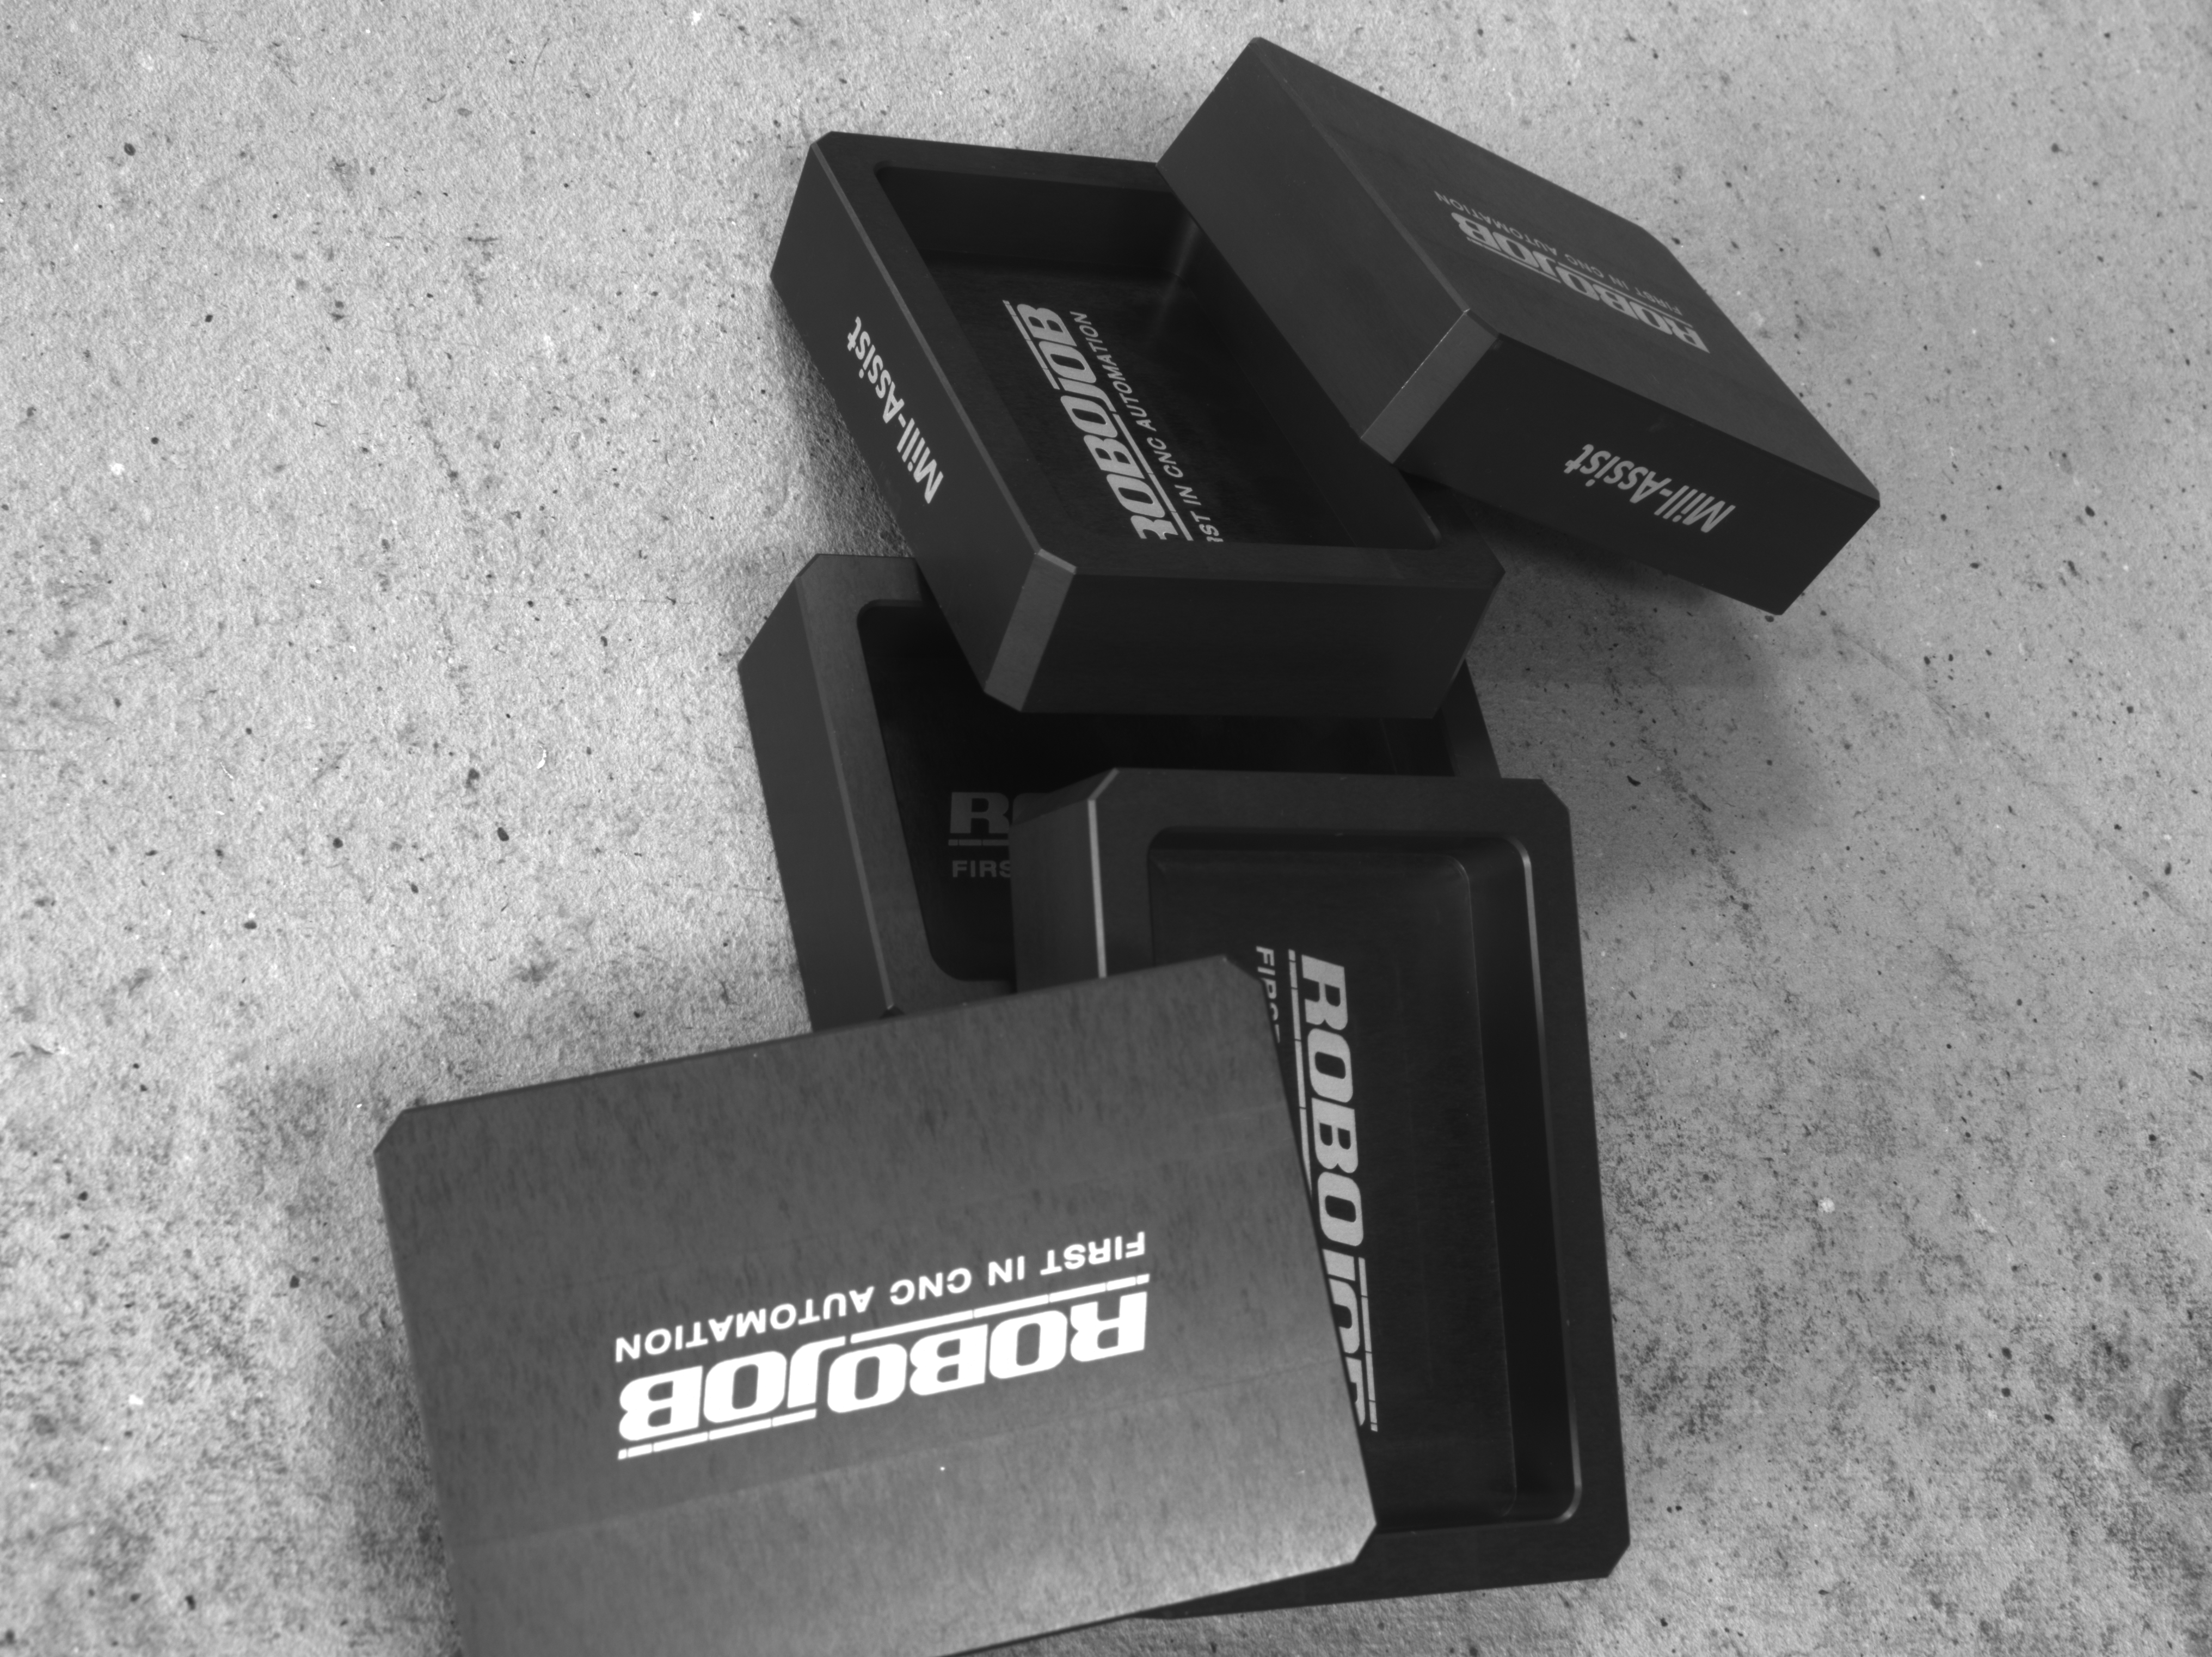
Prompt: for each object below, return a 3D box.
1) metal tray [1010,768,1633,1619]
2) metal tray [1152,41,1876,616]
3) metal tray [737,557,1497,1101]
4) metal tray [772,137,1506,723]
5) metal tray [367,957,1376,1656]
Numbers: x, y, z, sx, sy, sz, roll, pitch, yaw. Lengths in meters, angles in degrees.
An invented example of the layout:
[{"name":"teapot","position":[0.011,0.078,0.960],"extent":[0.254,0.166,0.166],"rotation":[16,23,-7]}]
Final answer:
[{"name":"metal tray","position":[0.035,0.058,0.594],"extent":[0.090,0.030,0.130],"rotation":[1,80,-27]},{"name":"metal tray","position":[0.079,-0.092,0.694],"extent":[0.130,0.030,0.090],"rotation":[14,34,-45]},{"name":"metal tray","position":[0.008,0.001,0.641],"extent":[0.130,0.030,0.090],"rotation":[0,62,-28]},{"name":"metal tray","position":[0.003,-0.072,0.657],"extent":[0.090,0.030,0.130],"rotation":[0,42,-28]},{"name":"metal tray","position":[-0.035,0.075,0.534],"extent":[0.130,0.030,0.090],"rotation":[-10,82,-13]}]
